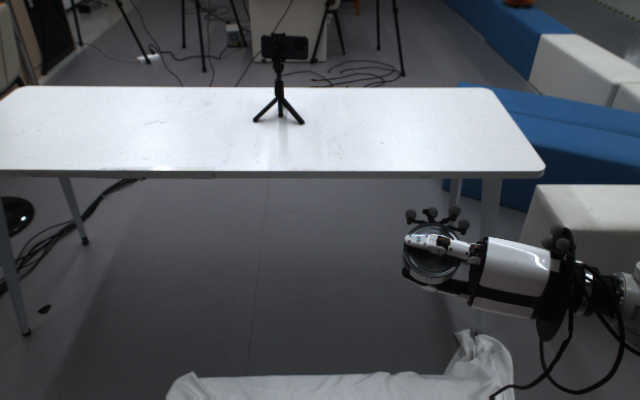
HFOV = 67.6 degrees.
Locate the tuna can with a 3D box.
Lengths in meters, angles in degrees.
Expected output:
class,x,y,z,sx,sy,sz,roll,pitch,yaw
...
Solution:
class,x,y,z,sx,sy,sz,roll,pitch,yaw
tuna can,0.164,0.073,0.705,0.085,0.034,0.085,-2,56,3
